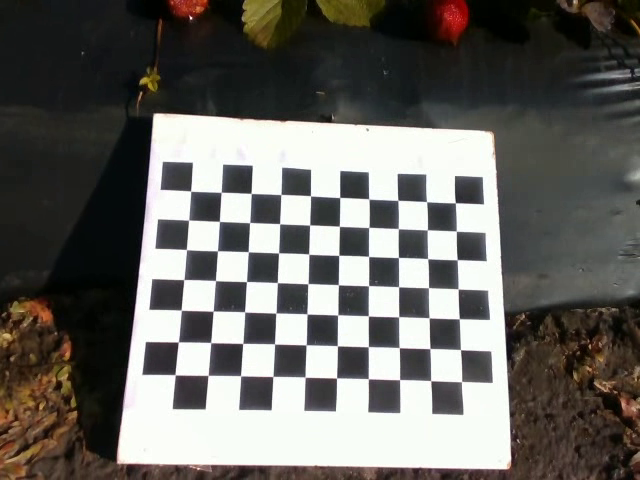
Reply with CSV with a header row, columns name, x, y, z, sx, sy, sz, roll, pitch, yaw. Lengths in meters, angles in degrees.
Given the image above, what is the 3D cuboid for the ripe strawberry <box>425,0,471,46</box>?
name,x,y,z,sx,sy,sz,roll,pitch,yaw
ripe strawberry,0.099,-0.171,0.494,0.043,0.043,0.050,37,28,1
